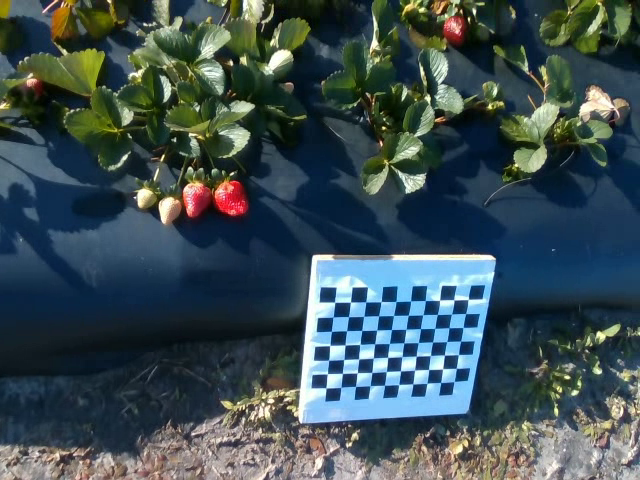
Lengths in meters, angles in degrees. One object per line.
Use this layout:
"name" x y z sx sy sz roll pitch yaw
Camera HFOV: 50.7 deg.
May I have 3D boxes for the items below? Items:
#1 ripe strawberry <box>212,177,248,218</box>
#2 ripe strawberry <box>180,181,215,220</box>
"ripe strawberry" -0.119 -0.055 0.931 0.067 0.057 0.051 46 5 30
"ripe strawberry" -0.173 -0.056 0.923 0.050 0.061 0.043 25 -34 -23
